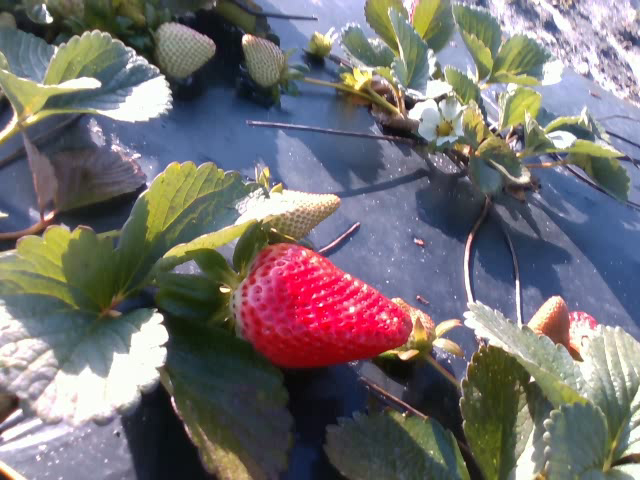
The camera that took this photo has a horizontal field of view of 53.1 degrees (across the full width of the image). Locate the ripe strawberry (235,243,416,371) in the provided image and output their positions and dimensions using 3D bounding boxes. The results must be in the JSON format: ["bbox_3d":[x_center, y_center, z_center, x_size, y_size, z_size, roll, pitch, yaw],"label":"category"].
[{"bbox_3d":[0.003,0.025,0.223,0.072,0.057,0.055,10,-3,8],"label":"ripe strawberry"}]
